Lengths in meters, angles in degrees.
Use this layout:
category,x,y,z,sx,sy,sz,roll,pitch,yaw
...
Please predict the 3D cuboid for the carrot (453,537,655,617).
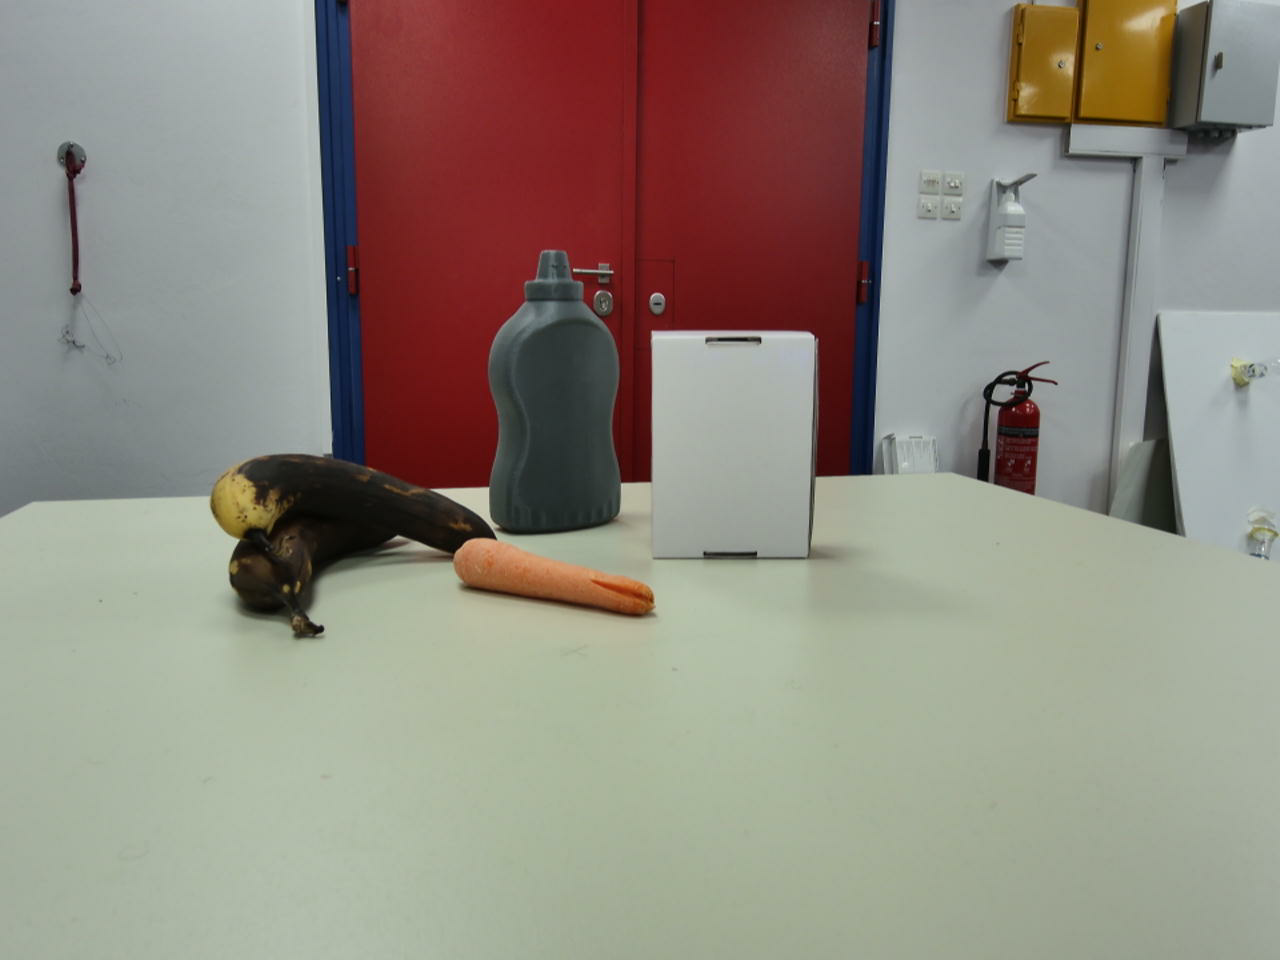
category,x,y,z,sx,sy,sz,roll,pitch,yaw
carrot,-0.051,0.053,0.565,0.136,0.032,0.030,5,8,32
